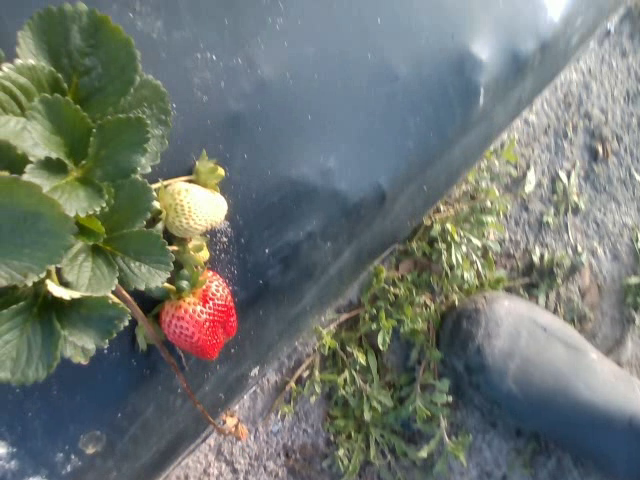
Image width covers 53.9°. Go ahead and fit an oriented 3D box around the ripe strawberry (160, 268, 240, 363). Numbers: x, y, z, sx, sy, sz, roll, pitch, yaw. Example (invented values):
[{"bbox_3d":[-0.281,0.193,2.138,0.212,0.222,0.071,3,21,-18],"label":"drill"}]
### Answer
[{"bbox_3d":[-0.062,0.047,0.355,0.047,0.050,0.034,-42,37,-20],"label":"ripe strawberry"}]
